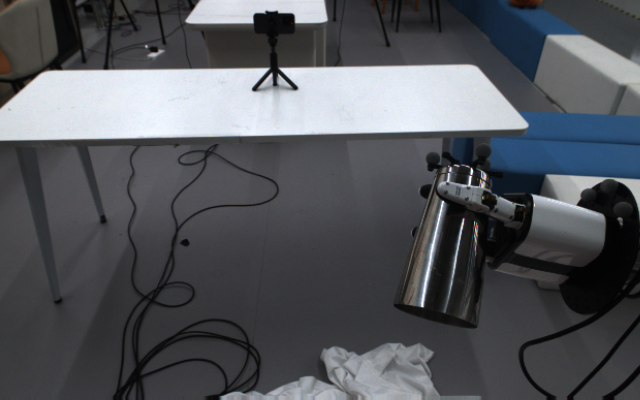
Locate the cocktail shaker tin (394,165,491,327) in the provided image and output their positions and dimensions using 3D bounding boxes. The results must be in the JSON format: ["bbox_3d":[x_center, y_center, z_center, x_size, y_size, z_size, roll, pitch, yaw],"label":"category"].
[{"bbox_3d":[0.150,0.047,0.556,0.093,0.093,0.170,12,72,14],"label":"cocktail shaker tin"}]
